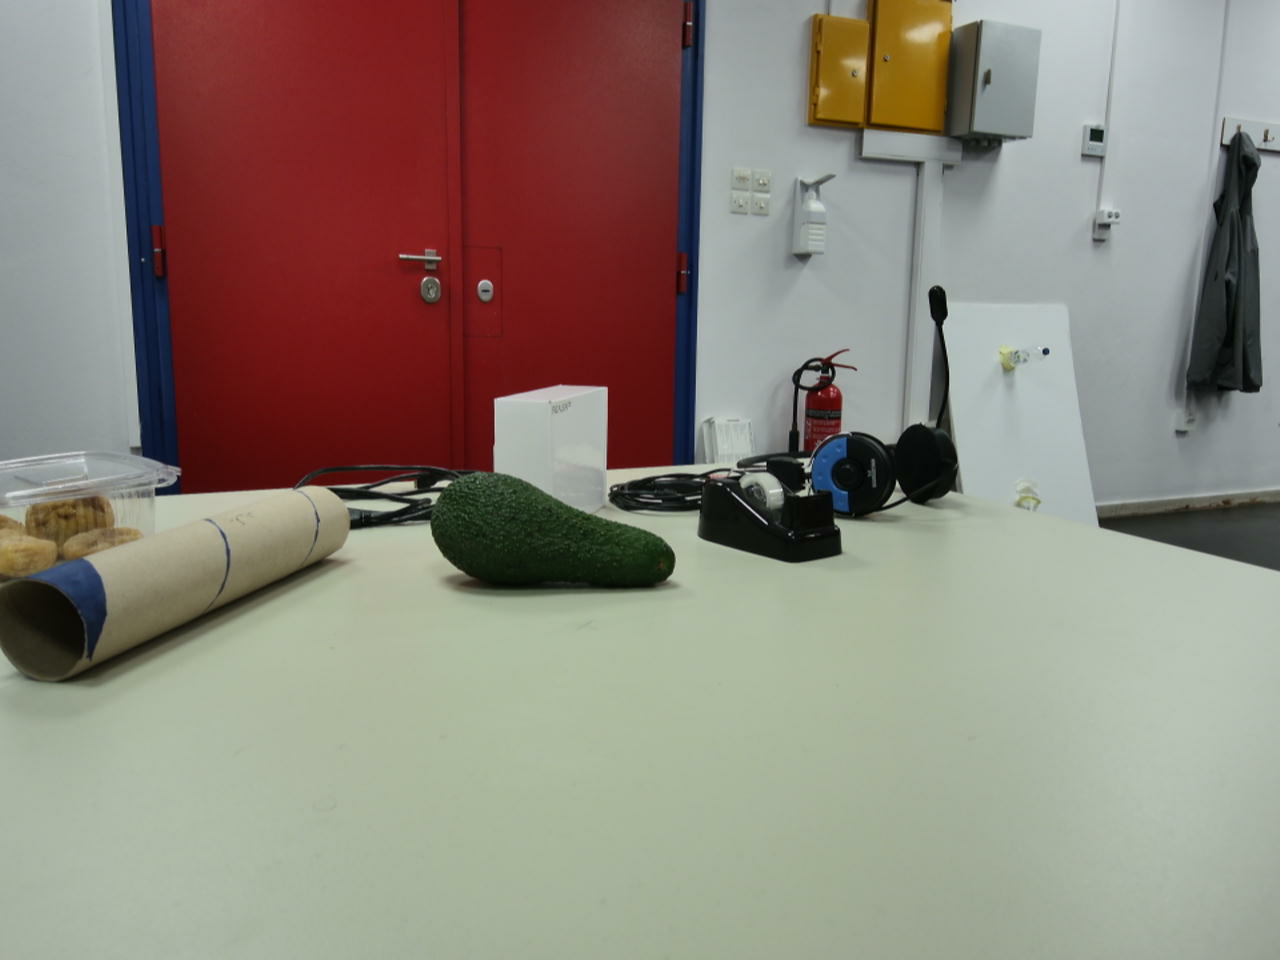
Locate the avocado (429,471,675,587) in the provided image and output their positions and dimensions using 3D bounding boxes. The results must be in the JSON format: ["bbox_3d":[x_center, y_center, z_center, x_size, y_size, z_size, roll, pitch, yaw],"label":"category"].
[{"bbox_3d":[-0.051,0.028,0.587,0.141,0.067,0.063,-2,8,-9],"label":"avocado"}]
